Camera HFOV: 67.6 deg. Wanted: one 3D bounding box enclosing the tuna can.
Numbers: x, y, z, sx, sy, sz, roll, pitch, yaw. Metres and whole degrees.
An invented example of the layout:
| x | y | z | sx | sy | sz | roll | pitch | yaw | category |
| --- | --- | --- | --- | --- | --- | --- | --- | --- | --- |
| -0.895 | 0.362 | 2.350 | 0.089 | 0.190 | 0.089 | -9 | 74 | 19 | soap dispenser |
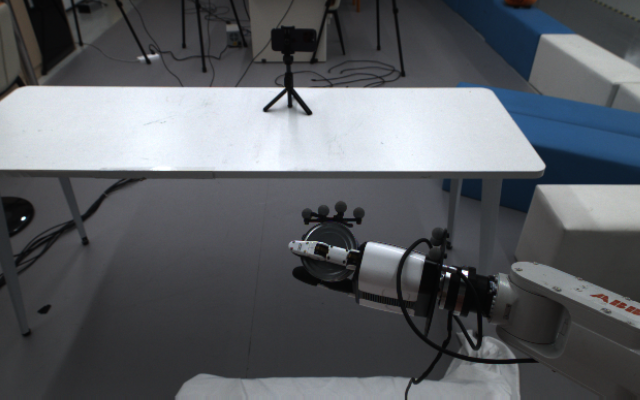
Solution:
| x | y | z | sx | sy | sz | roll | pitch | yaw | category |
| --- | --- | --- | --- | --- | --- | --- | --- | --- | --- |
| 0.017 | 0.076 | 0.709 | 0.085 | 0.034 | 0.085 | -5 | 72 | 14 | tuna can |
